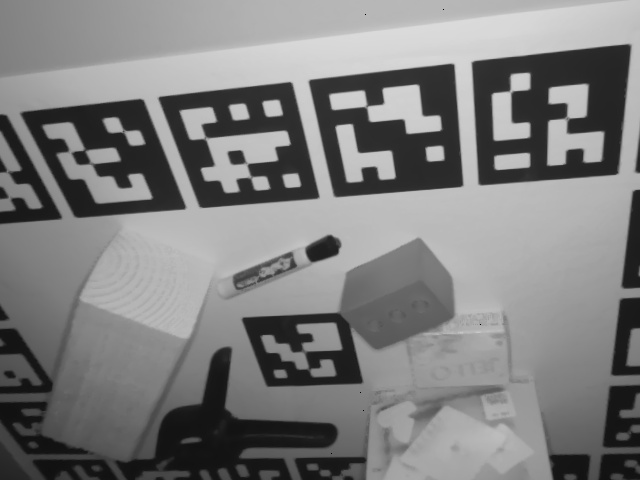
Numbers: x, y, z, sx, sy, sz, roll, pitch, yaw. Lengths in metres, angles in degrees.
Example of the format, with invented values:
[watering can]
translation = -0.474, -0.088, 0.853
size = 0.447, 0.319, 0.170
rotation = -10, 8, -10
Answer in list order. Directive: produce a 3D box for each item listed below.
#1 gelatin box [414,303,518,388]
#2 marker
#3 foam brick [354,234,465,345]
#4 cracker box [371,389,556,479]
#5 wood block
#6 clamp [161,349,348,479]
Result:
[gelatin box]
translation = 0.133, 0.098, 0.633
size = 0.089, 0.030, 0.073
rotation = -7, 122, 11
[marker]
translation = -0.015, 0.018, 0.596
size = 0.120, 0.020, 0.019
rotation = -23, 117, 20
[foam brick]
translation = 0.076, 0.043, 0.585
size = 0.077, 0.052, 0.053
rotation = -28, 115, 23
[cracker box]
translation = 0.127, 0.237, 0.609
size = 0.163, 0.216, 0.071
rotation = -7, 125, 14
[wood block]
translation = -0.165, 0.103, 0.634
size = 0.090, 0.092, 0.203
rotation = 22, 127, -11
[clamp]
translation = -0.096, 0.208, 0.728
size = 0.200, 0.037, 0.166
rotation = -34, 114, 25
